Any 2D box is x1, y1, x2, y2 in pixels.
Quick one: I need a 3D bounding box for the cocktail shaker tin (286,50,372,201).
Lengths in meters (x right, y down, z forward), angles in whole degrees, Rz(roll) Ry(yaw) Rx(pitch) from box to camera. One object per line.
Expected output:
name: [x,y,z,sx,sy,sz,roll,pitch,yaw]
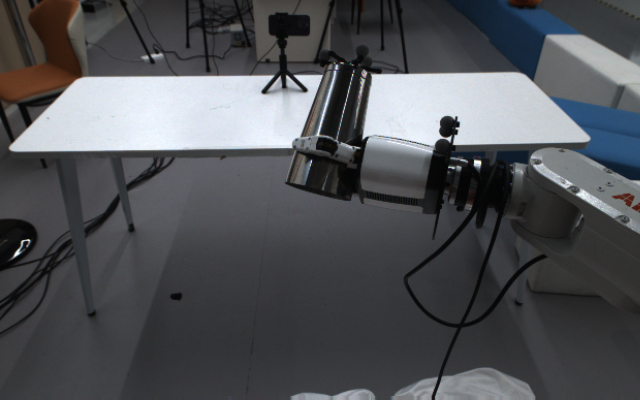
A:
cocktail shaker tin: [0.018,-0.093,0.655,0.093,0.170,0.093,15,-4,1]
